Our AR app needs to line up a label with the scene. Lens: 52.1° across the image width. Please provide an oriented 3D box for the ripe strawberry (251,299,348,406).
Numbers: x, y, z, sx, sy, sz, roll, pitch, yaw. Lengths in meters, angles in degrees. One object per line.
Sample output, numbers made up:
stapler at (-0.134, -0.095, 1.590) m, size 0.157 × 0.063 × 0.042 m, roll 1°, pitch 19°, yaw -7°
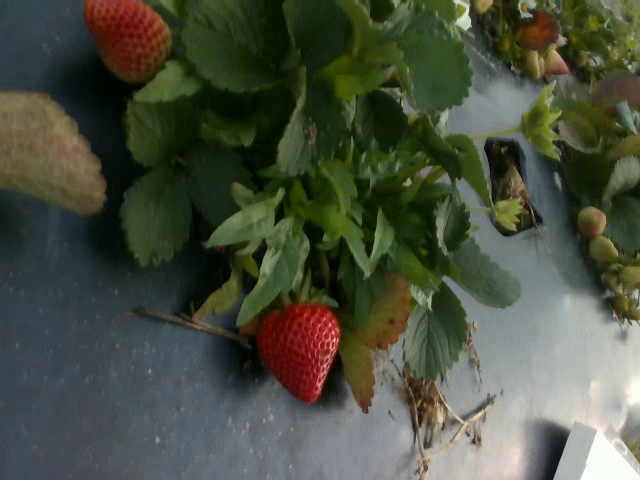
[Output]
ripe strawberry at (-0.011, 0.051, 0.297) m, size 0.042 × 0.051 × 0.043 m, roll -22°, pitch -24°, yaw 34°
